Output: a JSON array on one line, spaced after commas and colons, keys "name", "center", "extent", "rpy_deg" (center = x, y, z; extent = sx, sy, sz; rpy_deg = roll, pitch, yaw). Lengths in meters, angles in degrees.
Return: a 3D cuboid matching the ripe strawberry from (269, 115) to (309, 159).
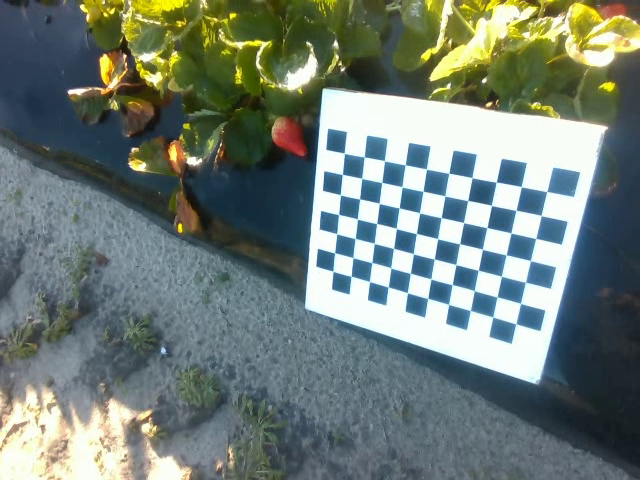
[{"name": "ripe strawberry", "center": [-0.041, -0.127, 0.787], "extent": [0.040, 0.065, 0.040], "rpy_deg": [-41, -6, 30]}]
